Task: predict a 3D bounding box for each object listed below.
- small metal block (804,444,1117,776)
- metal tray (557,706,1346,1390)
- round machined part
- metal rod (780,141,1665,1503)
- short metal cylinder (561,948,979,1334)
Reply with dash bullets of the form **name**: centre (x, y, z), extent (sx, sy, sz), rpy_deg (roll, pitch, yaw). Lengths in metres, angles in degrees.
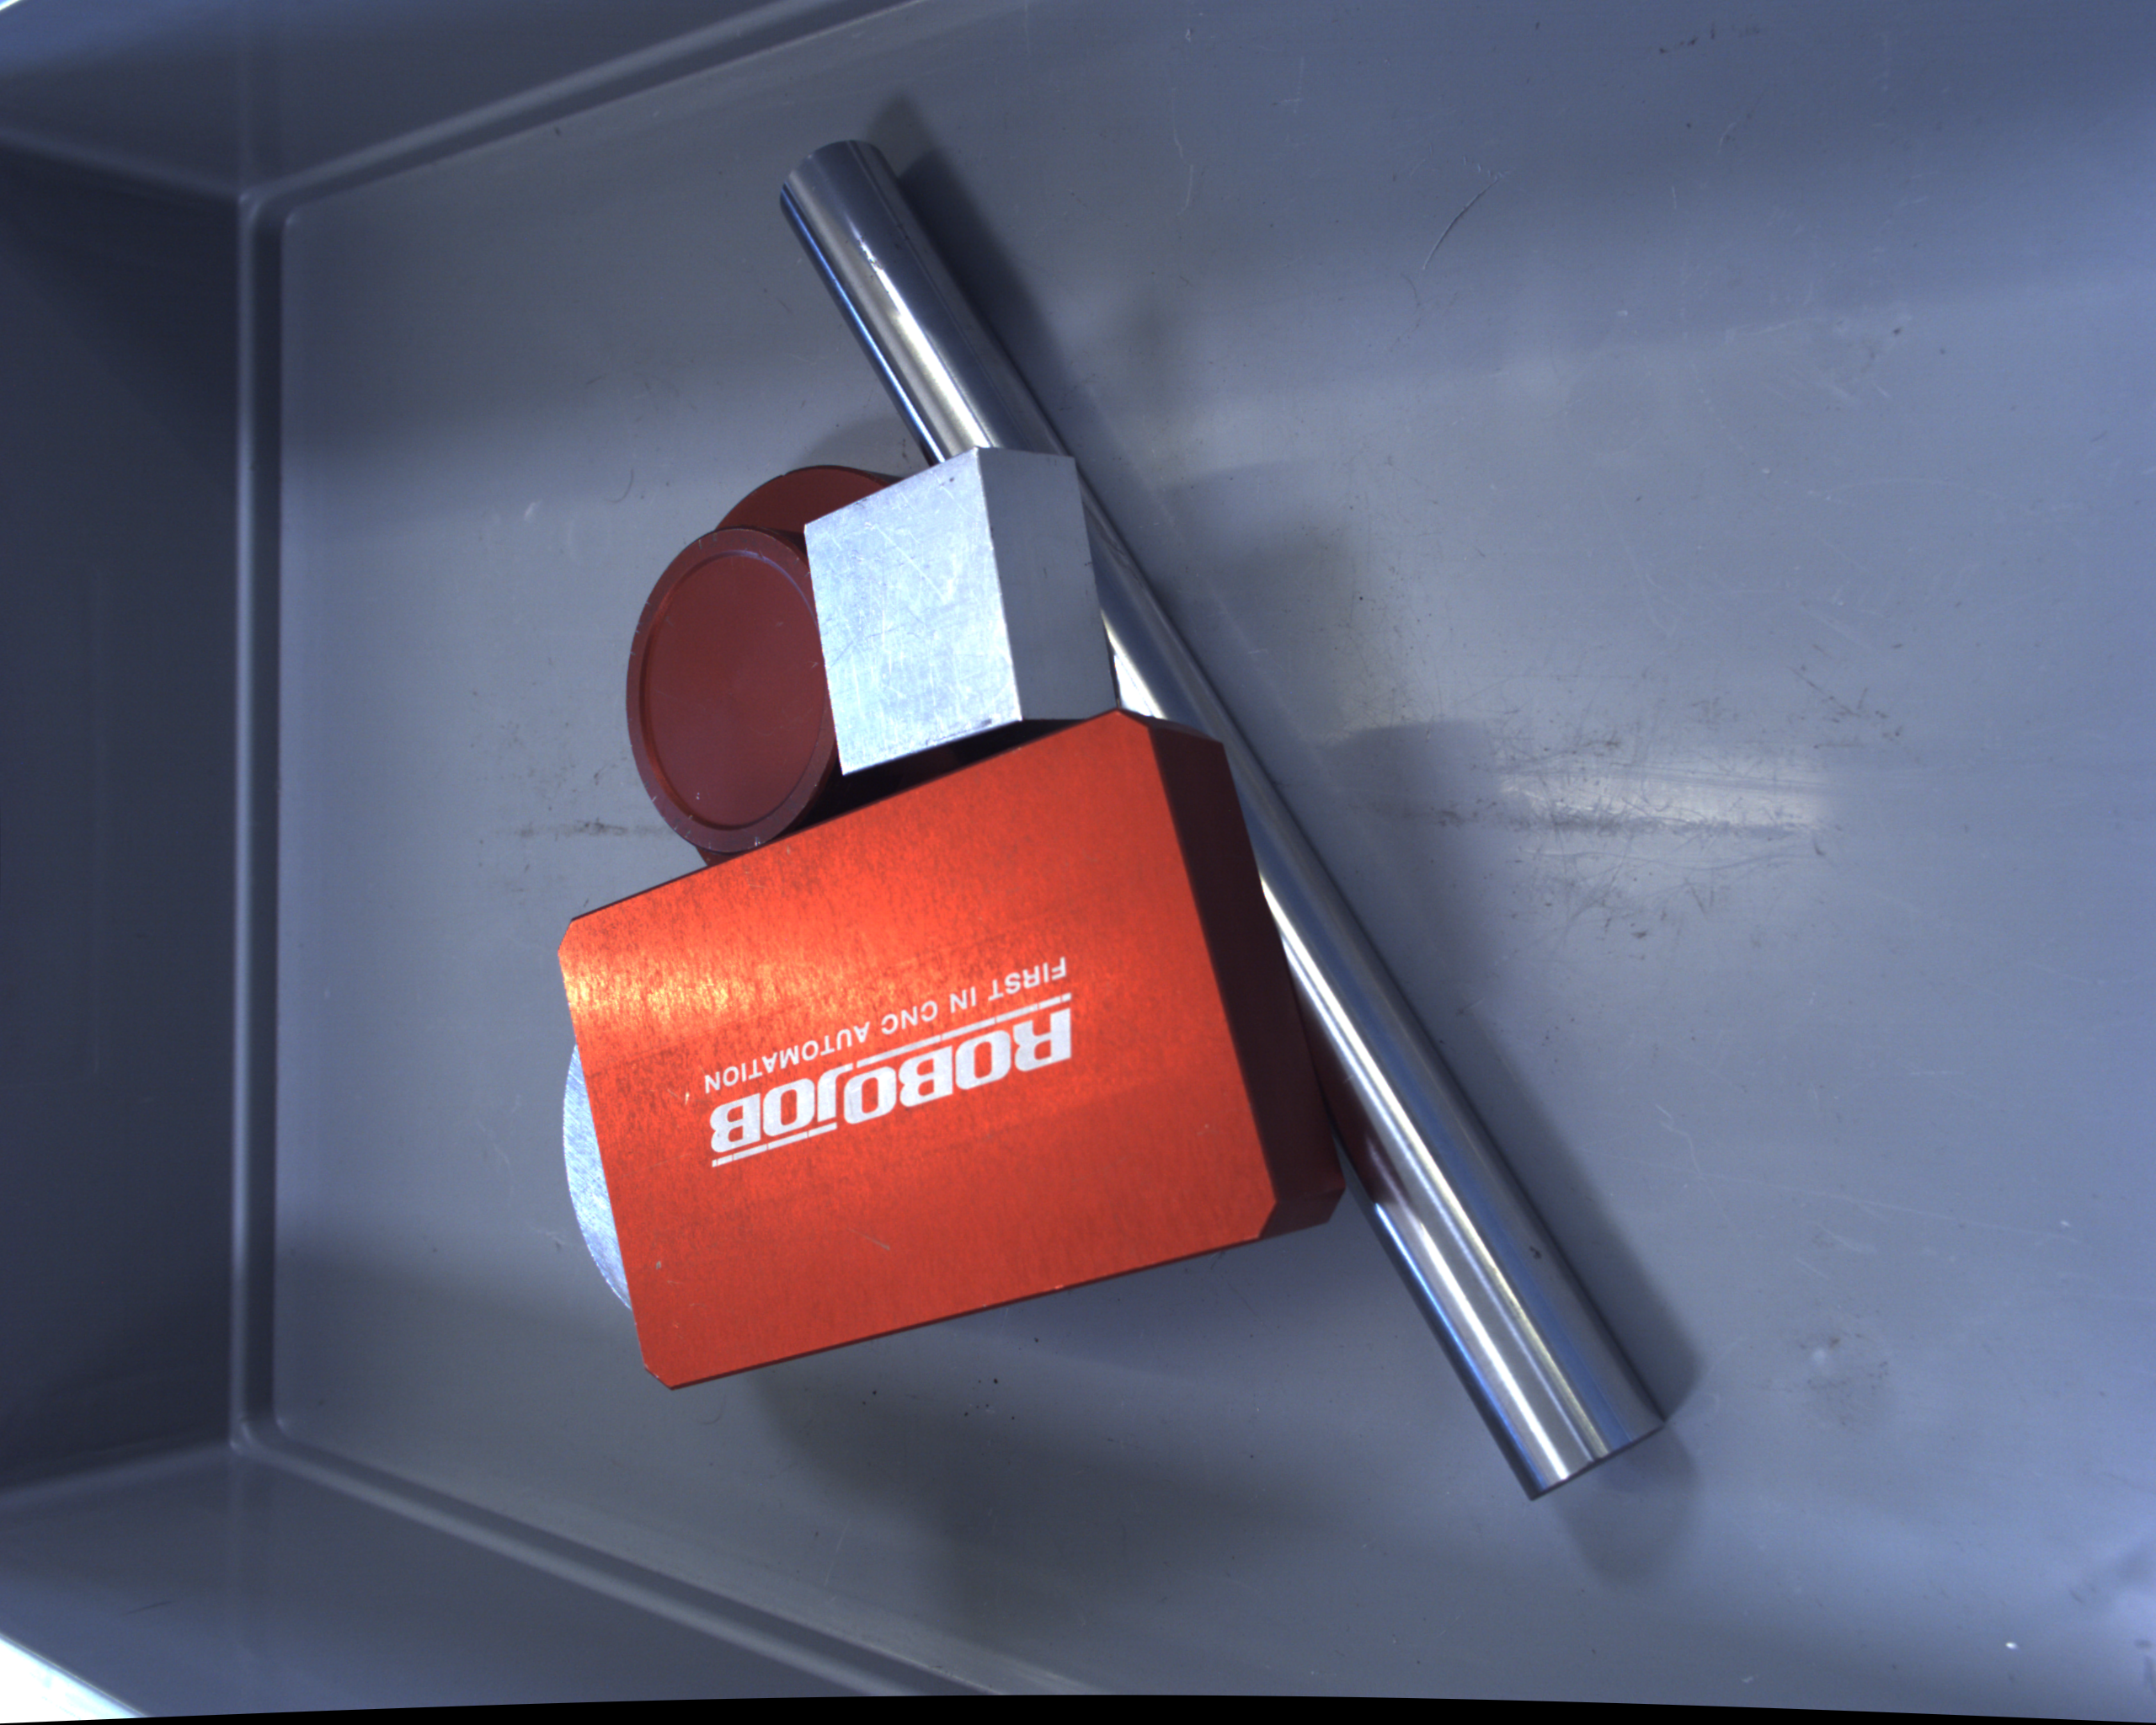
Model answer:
- **small metal block**: centre (-0.022, -0.046, 0.392), extent (0.050, 0.025, 0.050), rpy_deg (-14, 84, 44)
- **metal tray**: centre (-0.027, 0.036, 0.373), extent (0.130, 0.030, 0.090), rpy_deg (-20, 78, 25)
- **round machined part**: centre (-0.059, -0.036, 0.440), extent (0.098, 0.042, 0.097), rpy_deg (0, 90, 41)
- **metal rod**: centre (0.016, -0.024, 0.392), extent (0.025, 0.025, 0.299), rpy_deg (-43, 64, 31)
- **short metal cylinder**: centre (-0.064, 0.057, 0.440), extent (0.080, 0.050, 0.079), rpy_deg (0, 90, 40)
